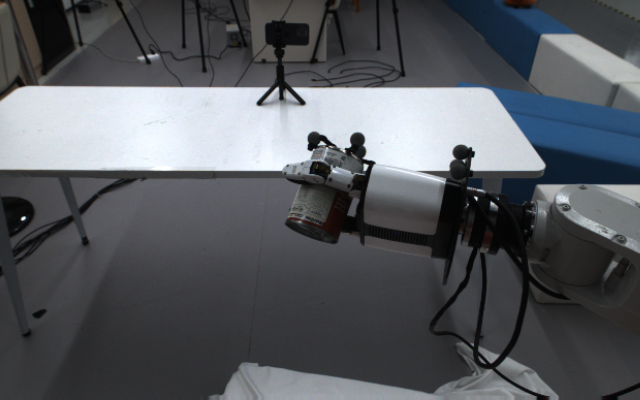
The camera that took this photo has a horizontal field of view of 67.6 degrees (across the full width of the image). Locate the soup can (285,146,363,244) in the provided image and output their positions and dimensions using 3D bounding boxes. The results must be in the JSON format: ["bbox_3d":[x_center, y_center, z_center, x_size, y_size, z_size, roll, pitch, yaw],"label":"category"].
[{"bbox_3d":[0.008,-0.007,0.585,0.067,0.067,0.101,15,74,18],"label":"soup can"}]
